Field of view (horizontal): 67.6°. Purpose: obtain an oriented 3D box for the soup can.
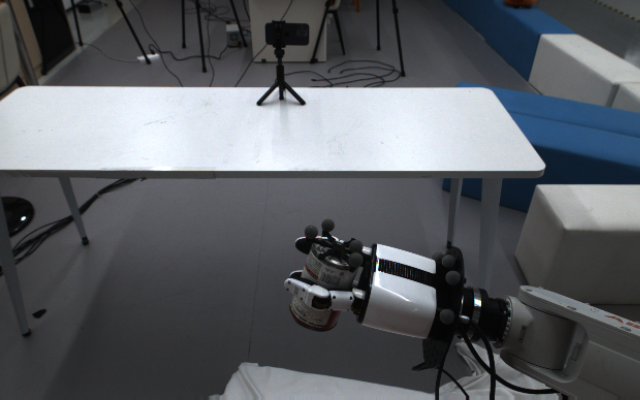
[{"bbox_3d":[0.008,0.111,0.633,0.067,0.101,0.067,17,21,-7],"label":"soup can"}]
